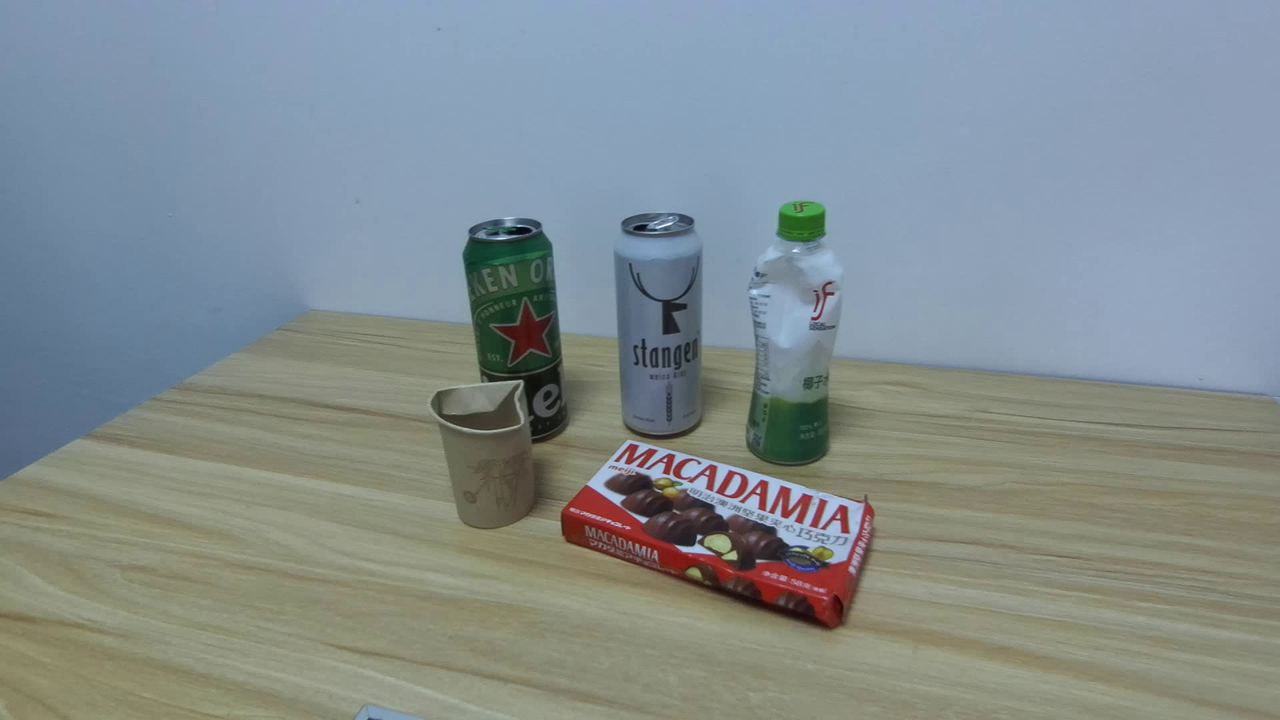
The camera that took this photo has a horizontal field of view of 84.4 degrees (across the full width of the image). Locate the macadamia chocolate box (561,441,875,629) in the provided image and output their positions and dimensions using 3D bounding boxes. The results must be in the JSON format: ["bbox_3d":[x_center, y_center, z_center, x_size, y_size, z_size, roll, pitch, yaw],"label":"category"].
[{"bbox_3d":[0.051,0.104,0.454,0.182,0.028,0.106,11,30,24],"label":"macadamia chocolate box"}]

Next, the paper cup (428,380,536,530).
[{"bbox_3d":[-0.105,0.066,0.480,0.066,0.084,0.071,-4,26,-4],"label":"paper cup"}]

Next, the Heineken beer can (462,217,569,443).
[{"bbox_3d":[-0.096,-0.020,0.555,0.067,0.169,0.067,-2,25,1],"label":"Heineken beer can"}]

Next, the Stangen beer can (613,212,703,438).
[{"bbox_3d":[0.016,-0.025,0.551,0.067,0.171,0.067,-1,26,1],"label":"Stangen beer can"}]

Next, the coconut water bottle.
[{"bbox_3d":[0.111,-0.018,0.506,0.069,0.187,0.069,-1,27,1],"label":"coconut water bottle"}]
